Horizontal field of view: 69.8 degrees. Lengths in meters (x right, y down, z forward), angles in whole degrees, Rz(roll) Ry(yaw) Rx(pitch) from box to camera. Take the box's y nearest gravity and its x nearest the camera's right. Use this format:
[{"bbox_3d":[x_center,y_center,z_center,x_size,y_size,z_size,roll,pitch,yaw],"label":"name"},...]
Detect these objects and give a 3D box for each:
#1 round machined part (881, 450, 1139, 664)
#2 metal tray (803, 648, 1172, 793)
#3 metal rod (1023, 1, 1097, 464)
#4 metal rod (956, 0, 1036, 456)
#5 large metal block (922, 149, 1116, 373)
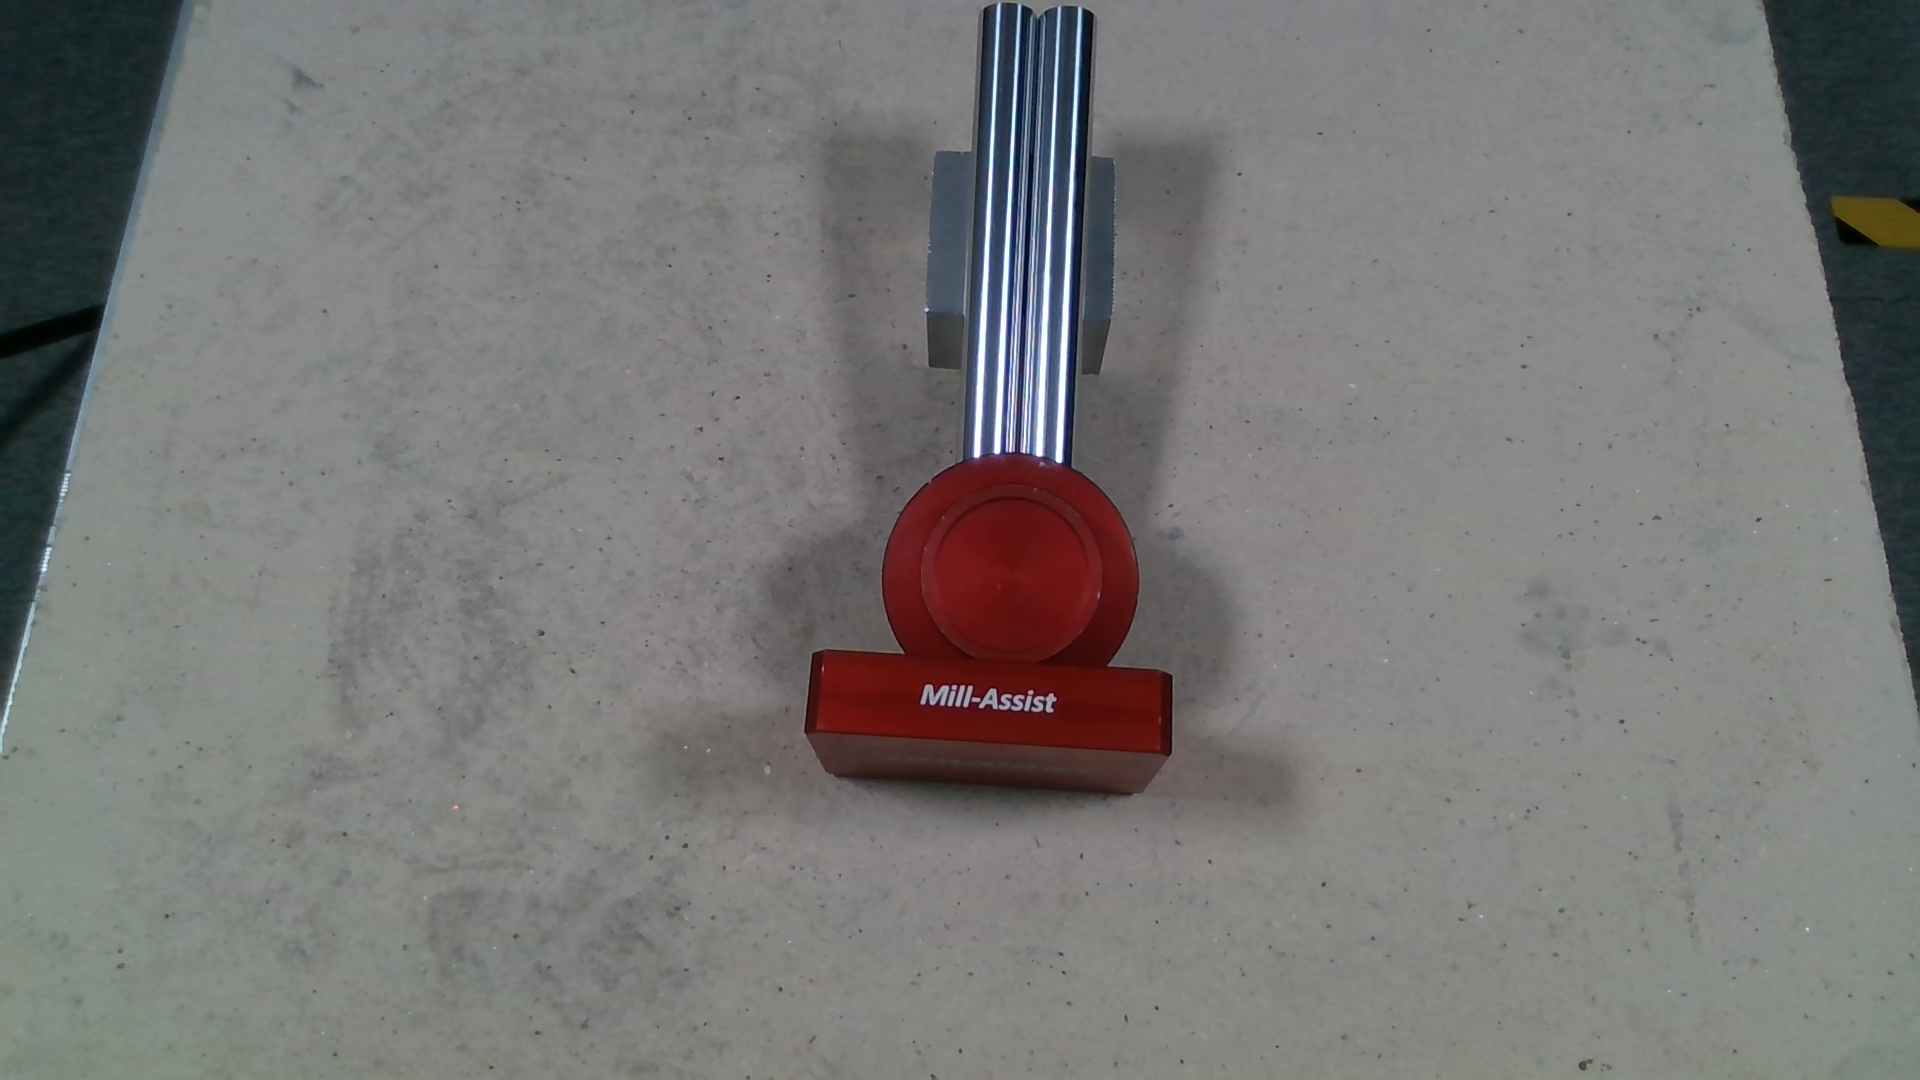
[{"bbox_3d":[0.019,0.014,0.523,0.098,0.042,0.098,0,81,2],"label":"round machined part"},{"bbox_3d":[0.010,0.071,0.528,0.130,0.090,0.030,3,70,1],"label":"metal tray"},{"bbox_3d":[0.040,-0.074,0.567,0.025,0.025,0.300,2,83,1],"label":"metal rod"},{"bbox_3d":[0.013,-0.076,0.568,0.025,0.025,0.300,3,83,1],"label":"metal rod"},{"bbox_3d":[0.026,-0.124,0.615,0.080,0.050,0.080,3,70,1],"label":"large metal block"}]
